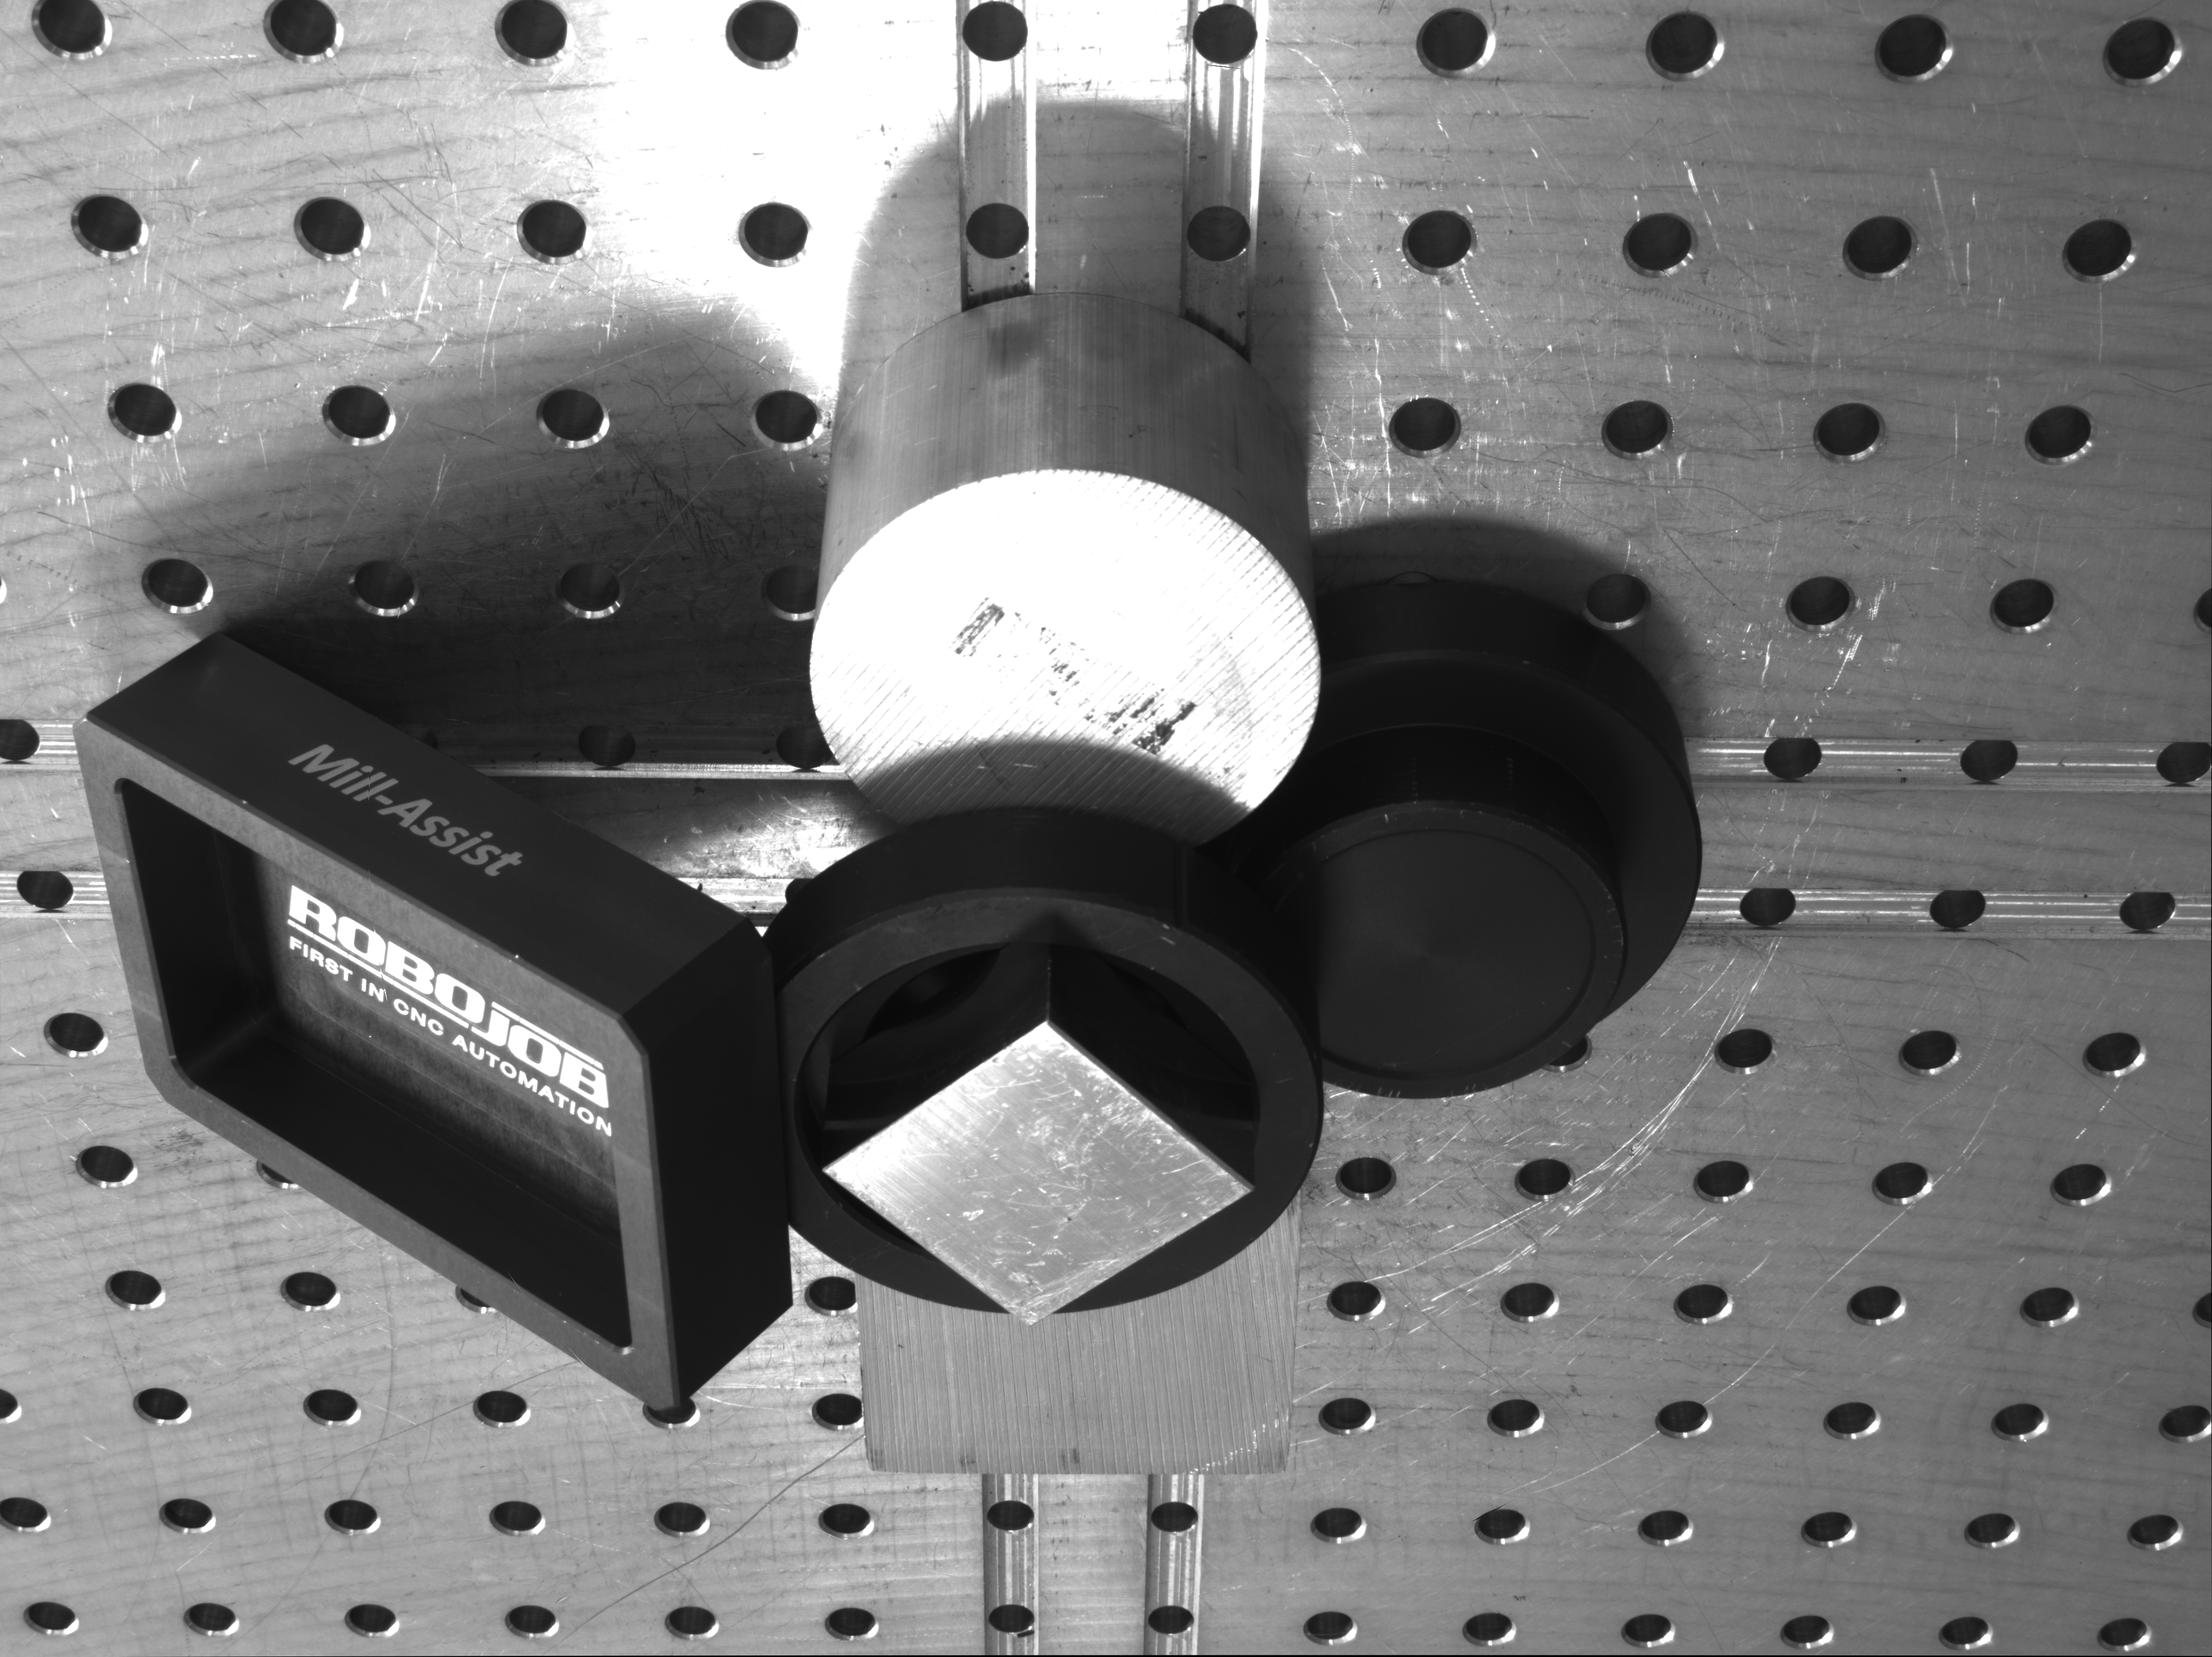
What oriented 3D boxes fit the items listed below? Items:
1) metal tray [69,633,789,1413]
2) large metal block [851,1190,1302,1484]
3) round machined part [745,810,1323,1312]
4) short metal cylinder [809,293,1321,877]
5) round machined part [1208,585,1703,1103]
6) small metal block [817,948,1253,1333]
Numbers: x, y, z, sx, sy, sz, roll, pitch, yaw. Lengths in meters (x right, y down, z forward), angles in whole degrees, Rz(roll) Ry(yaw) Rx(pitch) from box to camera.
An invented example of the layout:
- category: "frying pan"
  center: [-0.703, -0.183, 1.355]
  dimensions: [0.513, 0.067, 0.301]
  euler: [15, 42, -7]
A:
- category: "metal tray"
  center: [-0.114, 0.032, 0.618]
  dimensions: [0.130, 0.030, 0.090]
  euler: [26, 136, 27]
- category: "large metal block"
  center: [-0.006, 0.077, 0.686]
  dimensions: [0.080, 0.050, 0.080]
  euler: [0, 130, 0]
- category: "round machined part"
  center: [-0.013, 0.034, 0.622]
  dimensions: [0.098, 0.042, 0.098]
  euler: [0, 130, 0]
- category: "short metal cylinder"
  center: [-0.006, -0.039, 0.593]
  dimensions: [0.080, 0.050, 0.080]
  euler: [0, 130, 0]
- category: "round machined part"
  center: [0.055, 0.009, 0.637]
  dimensions: [0.098, 0.042, 0.098]
  euler: [0, 130, 0]
- category: "small metal block"
  center: [-0.011, 0.050, 0.603]
  dimensions: [0.050, 0.025, 0.050]
  euler: [-34, 122, 25]
